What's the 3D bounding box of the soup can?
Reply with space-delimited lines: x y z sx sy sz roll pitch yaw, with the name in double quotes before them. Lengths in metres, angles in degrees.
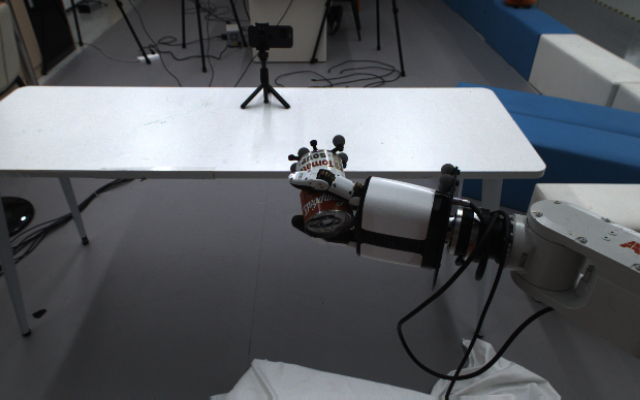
"soup can" 0.007 -0.009 0.656 0.067 0.067 0.101 -5 57 -10
